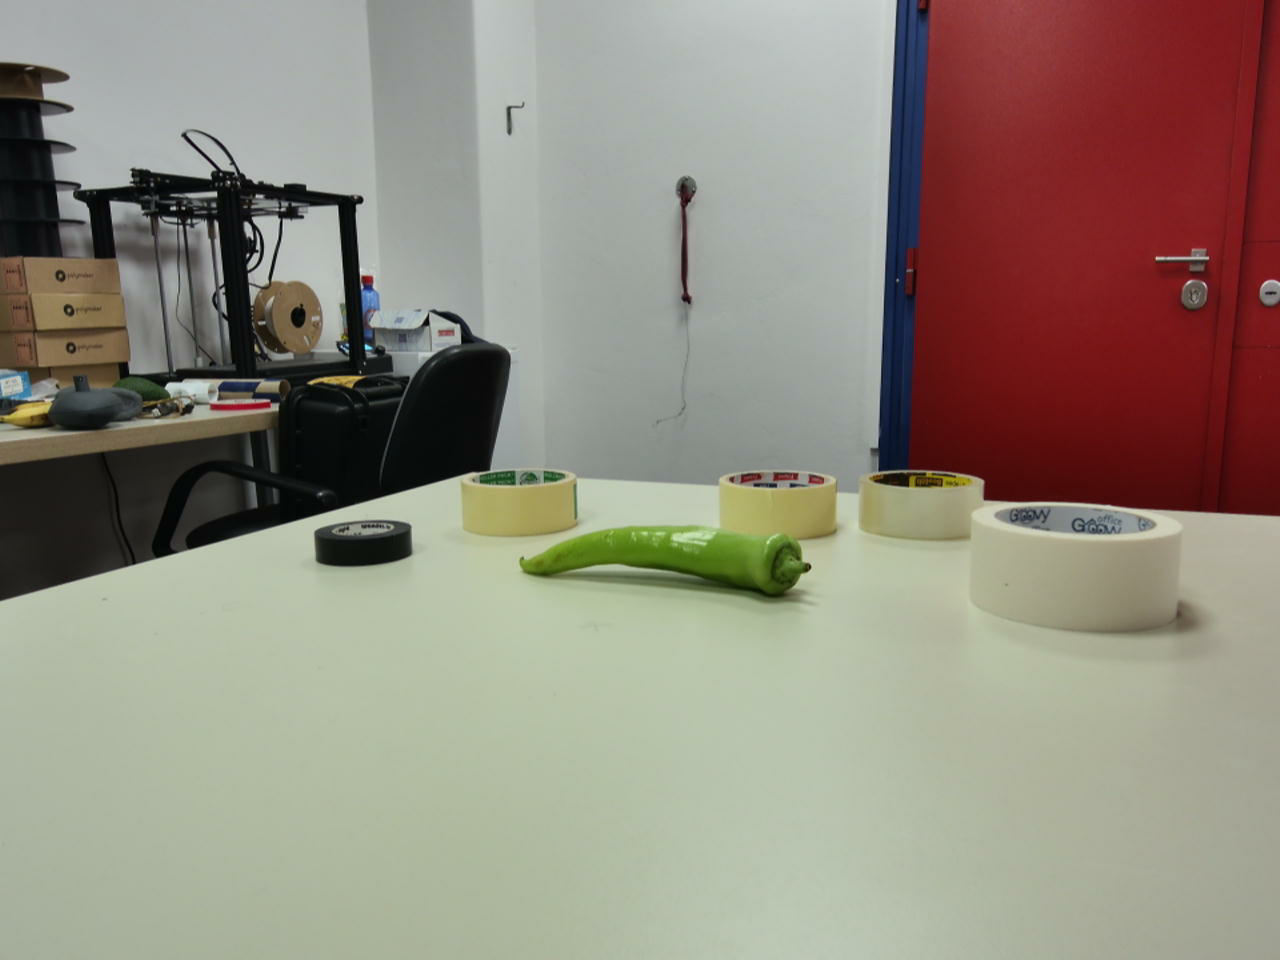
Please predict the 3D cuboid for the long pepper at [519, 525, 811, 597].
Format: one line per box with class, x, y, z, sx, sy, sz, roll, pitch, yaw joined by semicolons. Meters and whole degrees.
long pepper;0.015;0.045;0.620;0.197;0.038;0.046;4;8;25
